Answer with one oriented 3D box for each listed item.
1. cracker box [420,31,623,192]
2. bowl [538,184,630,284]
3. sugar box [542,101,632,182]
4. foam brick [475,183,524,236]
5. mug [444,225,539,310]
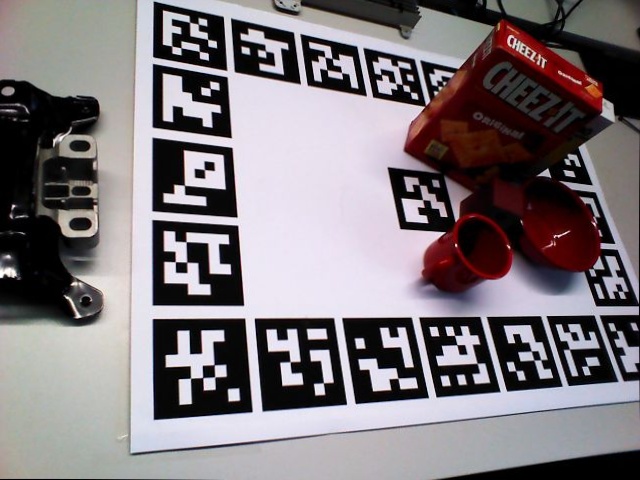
[{"bbox_3d":[0.271,-0.157,0.725,0.164,0.215,0.071,30,55,-10],"label":"cracker box"},{"bbox_3d":[0.388,-0.002,0.786,0.161,0.055,0.161,10,63,-21],"label":"bowl"},{"bbox_3d":[0.363,-0.156,0.789,0.093,0.178,0.045,22,58,-13],"label":"sugar box"},{"bbox_3d":[0.271,-0.035,0.751,0.053,0.078,0.051,17,59,-16],"label":"foam brick"},{"bbox_3d":[0.212,0.042,0.674,0.117,0.082,0.093,-7,61,-26],"label":"mug"}]
